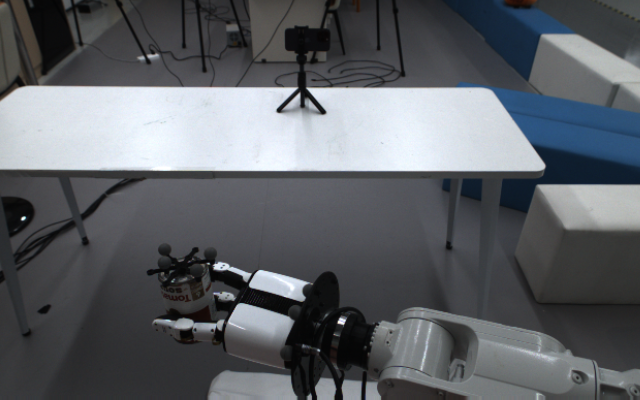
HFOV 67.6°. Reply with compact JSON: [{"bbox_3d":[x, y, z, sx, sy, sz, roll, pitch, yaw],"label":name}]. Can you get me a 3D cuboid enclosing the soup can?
[{"bbox_3d":[-0.178,0.139,0.668,0.067,0.101,0.067,-4,26,2],"label":"soup can"}]
